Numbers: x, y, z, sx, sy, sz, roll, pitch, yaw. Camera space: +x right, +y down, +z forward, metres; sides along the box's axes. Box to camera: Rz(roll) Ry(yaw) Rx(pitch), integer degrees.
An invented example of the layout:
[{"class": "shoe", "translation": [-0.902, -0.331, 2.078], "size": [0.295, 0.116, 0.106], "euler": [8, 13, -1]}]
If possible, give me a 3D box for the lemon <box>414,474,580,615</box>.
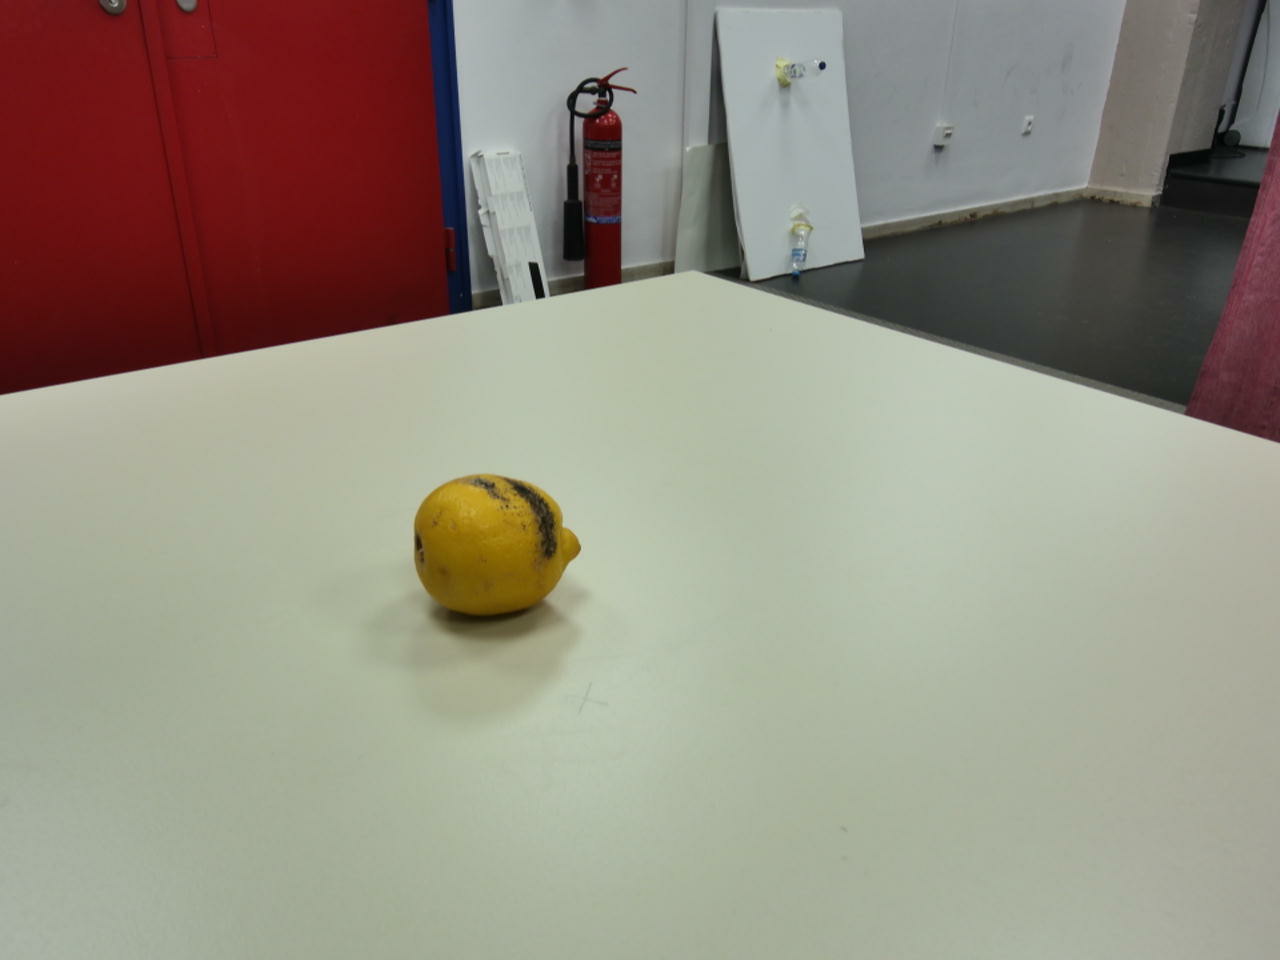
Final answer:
[{"class": "lemon", "translation": [-0.060, 0.025, 0.401], "size": [0.058, 0.056, 0.061], "euler": [20, 31, 39]}]
